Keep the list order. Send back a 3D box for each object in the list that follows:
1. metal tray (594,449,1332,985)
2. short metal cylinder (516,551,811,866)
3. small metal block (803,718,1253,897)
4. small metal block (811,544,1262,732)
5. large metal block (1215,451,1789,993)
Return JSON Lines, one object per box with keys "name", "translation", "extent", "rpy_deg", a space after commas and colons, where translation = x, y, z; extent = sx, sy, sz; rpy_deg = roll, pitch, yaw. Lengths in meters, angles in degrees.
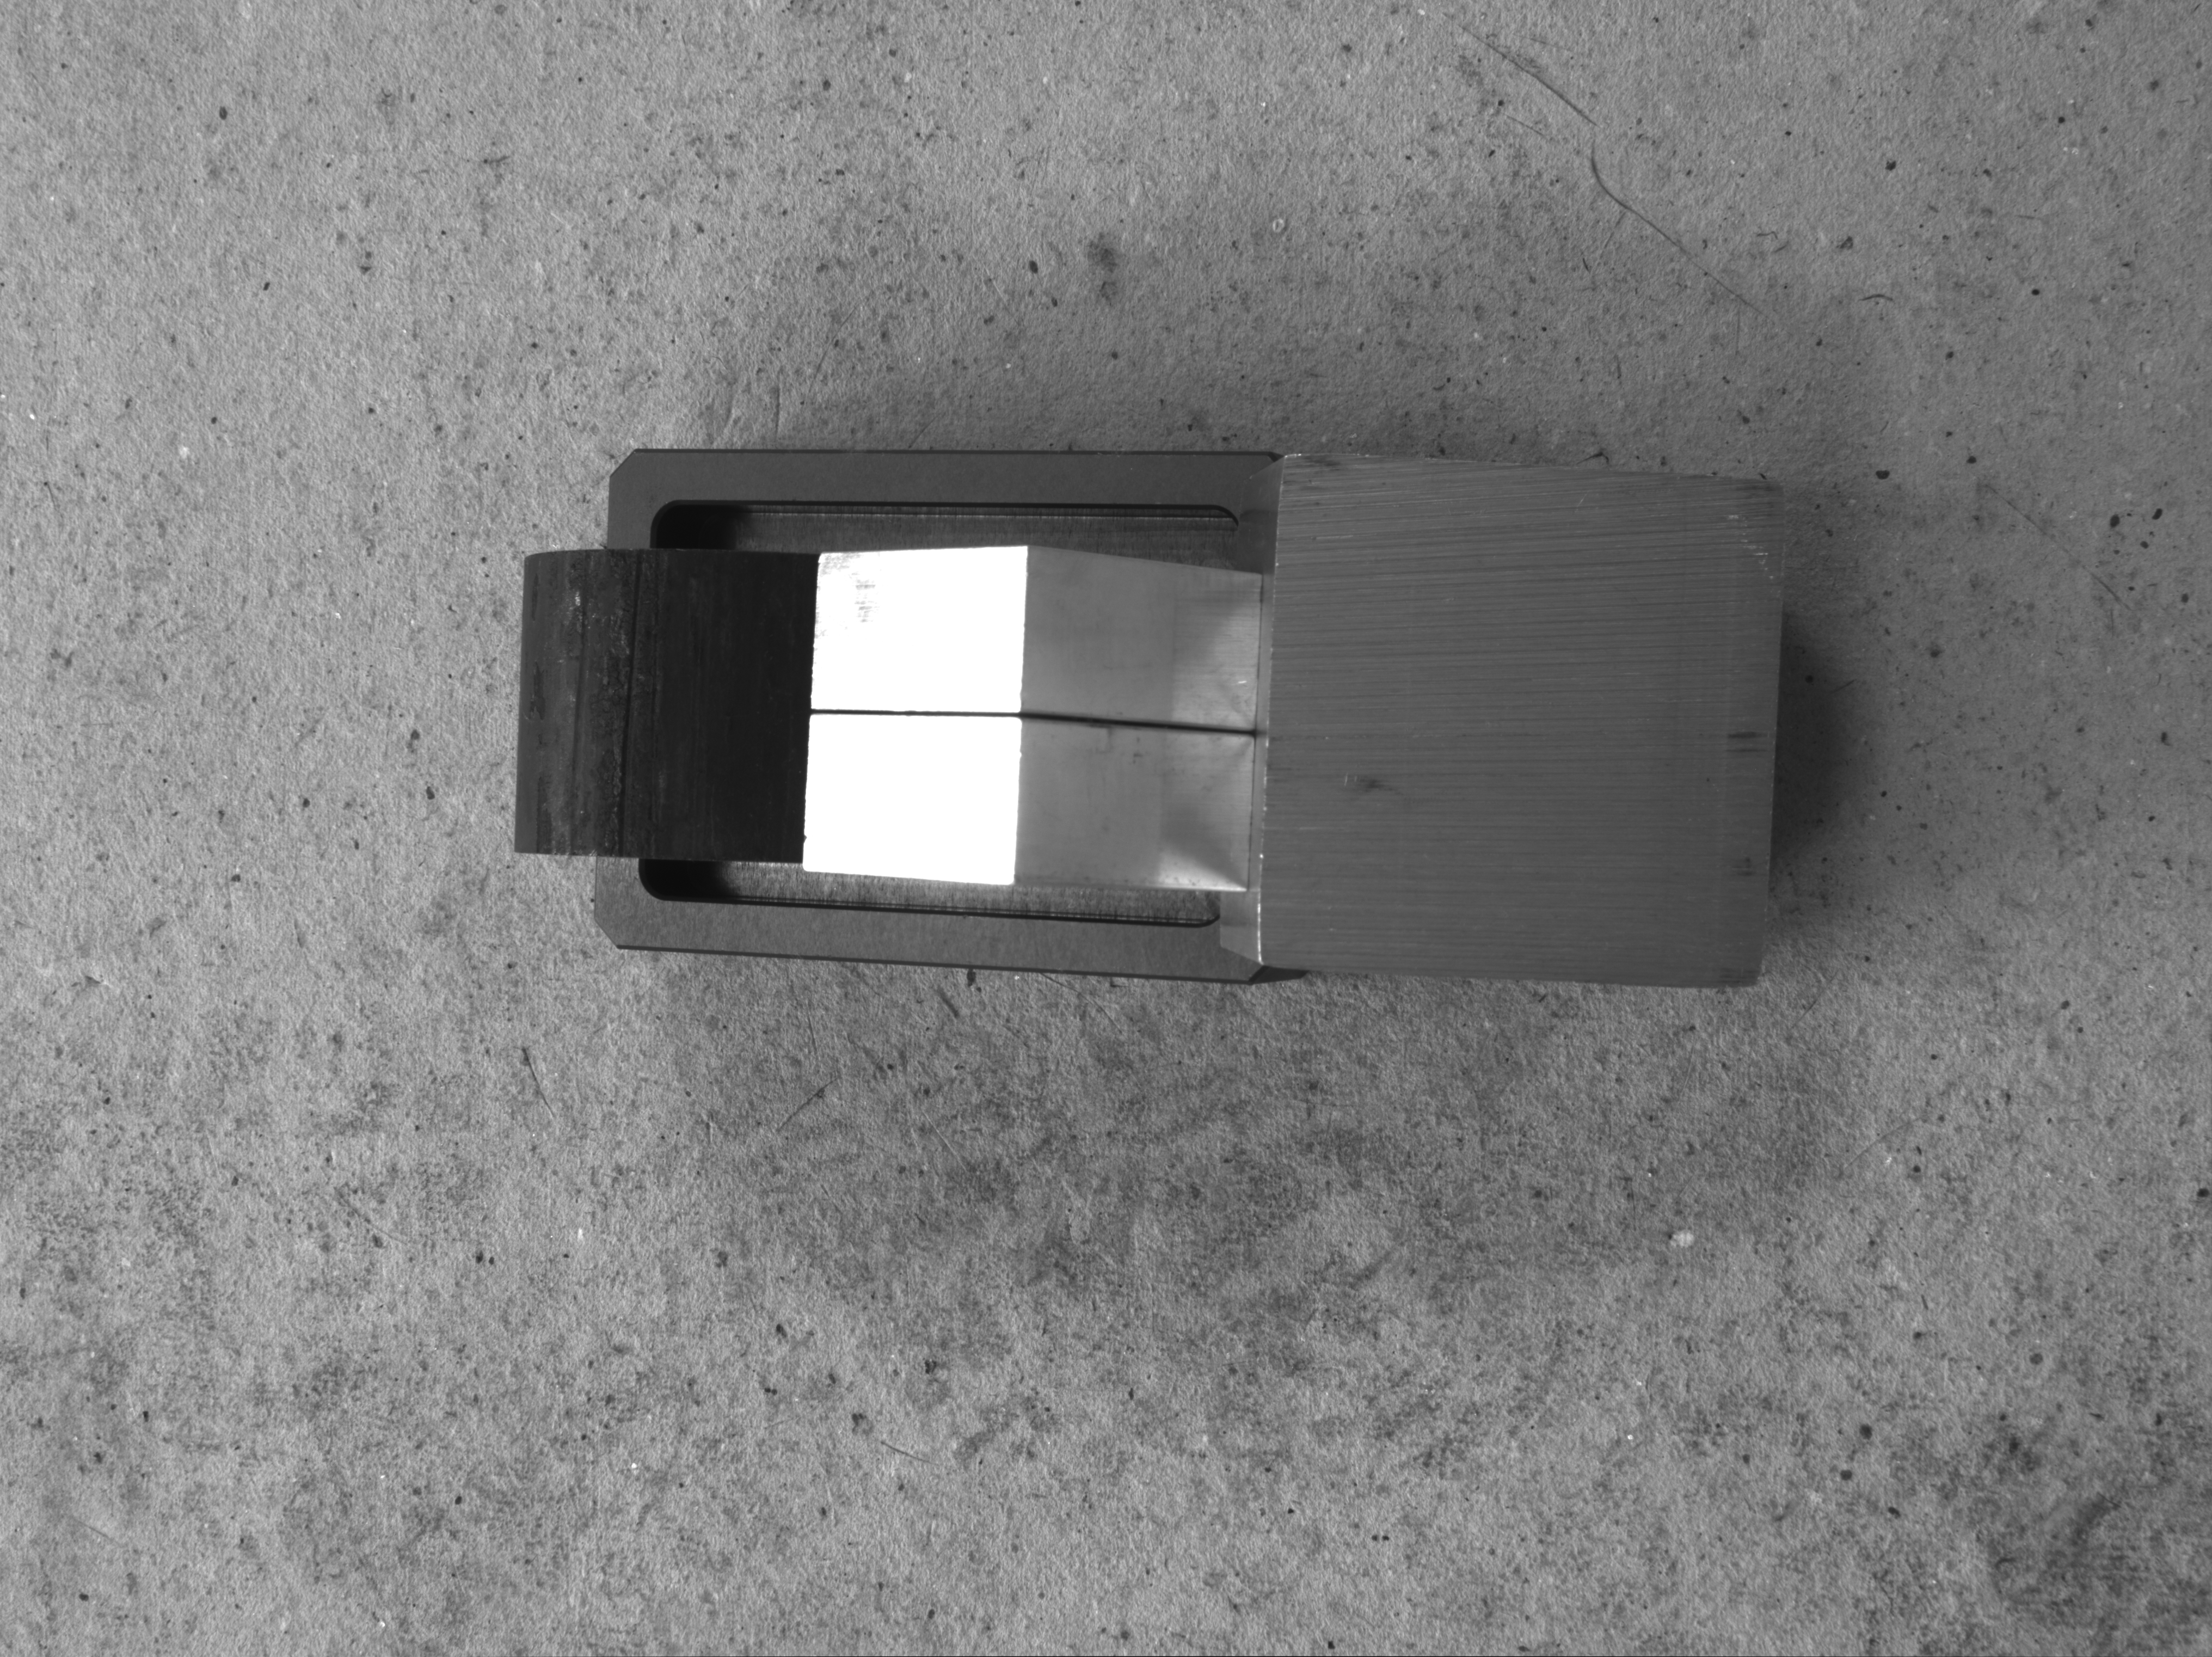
{"name": "metal tray", "translation": [-0.025, -0.021, 0.653], "extent": [0.130, 0.030, 0.090], "rpy_deg": [2, 91, 20]}
{"name": "short metal cylinder", "translation": [-0.060, -0.019, 0.626], "extent": [0.080, 0.080, 0.050], "rpy_deg": [1, 90, 20]}
{"name": "small metal block", "translation": [-0.012, -0.003, 0.582], "extent": [0.050, 0.050, 0.025], "rpy_deg": [2, 89, 46]}
{"name": "small metal block", "translation": [-0.011, -0.029, 0.582], "extent": [0.050, 0.050, 0.025], "rpy_deg": [2, 89, 46]}
{"name": "large metal block", "translation": [0.063, -0.017, 0.596], "extent": [0.080, 0.050, 0.080], "rpy_deg": [3, 91, -6]}
